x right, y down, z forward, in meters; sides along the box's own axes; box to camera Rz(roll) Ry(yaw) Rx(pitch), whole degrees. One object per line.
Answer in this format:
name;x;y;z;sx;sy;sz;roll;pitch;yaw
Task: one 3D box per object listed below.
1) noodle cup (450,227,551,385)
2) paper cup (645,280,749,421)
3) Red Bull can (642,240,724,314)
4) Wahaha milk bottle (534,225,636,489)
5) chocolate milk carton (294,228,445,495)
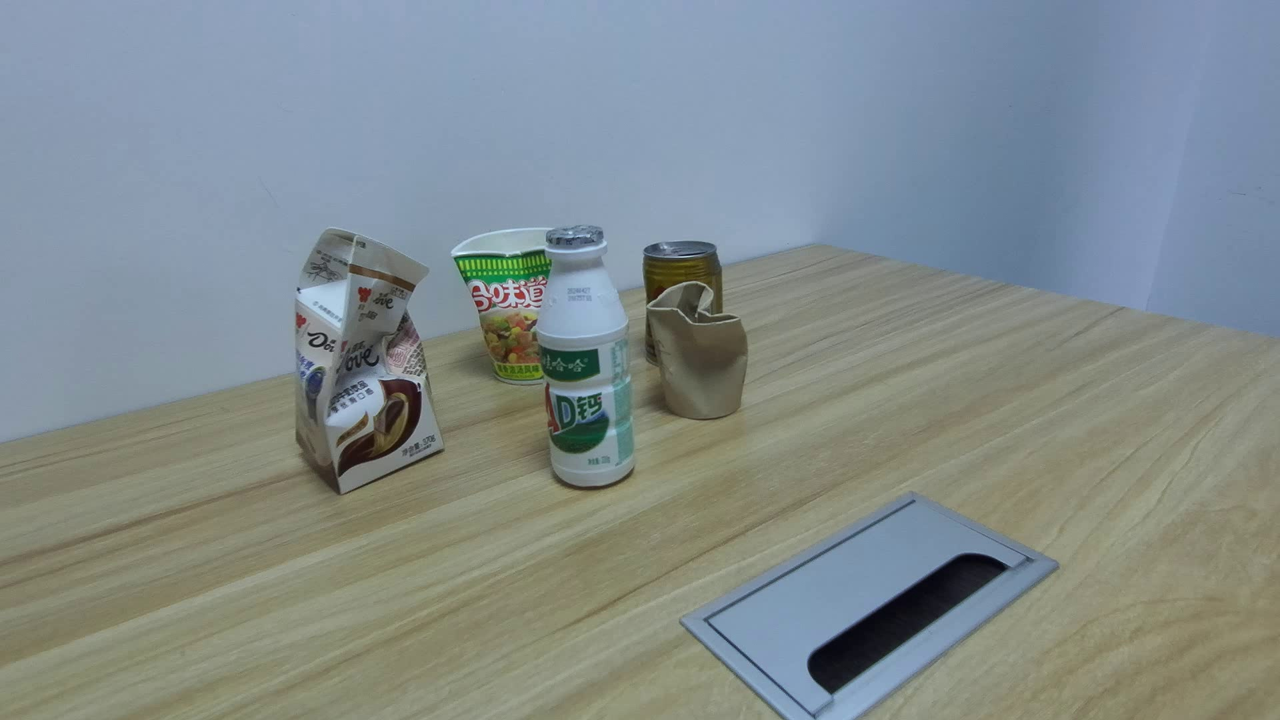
noodle cup;-0.084;-0.045;0.564;0.093;0.109;0.087;5;24;21
paper cup;0.045;-0.005;0.487;0.058;0.083;0.066;10;29;24
Red Bull can;0.034;-0.047;0.584;0.068;0.093;0.068;-2;24;1
Wahaha milk bottle;-0.031;-0.001;0.404;0.053;0.147;0.053;-4;21;2
chocolate milk carton;-0.172;-0.004;0.445;0.076;0.155;0.090;21;18;38
